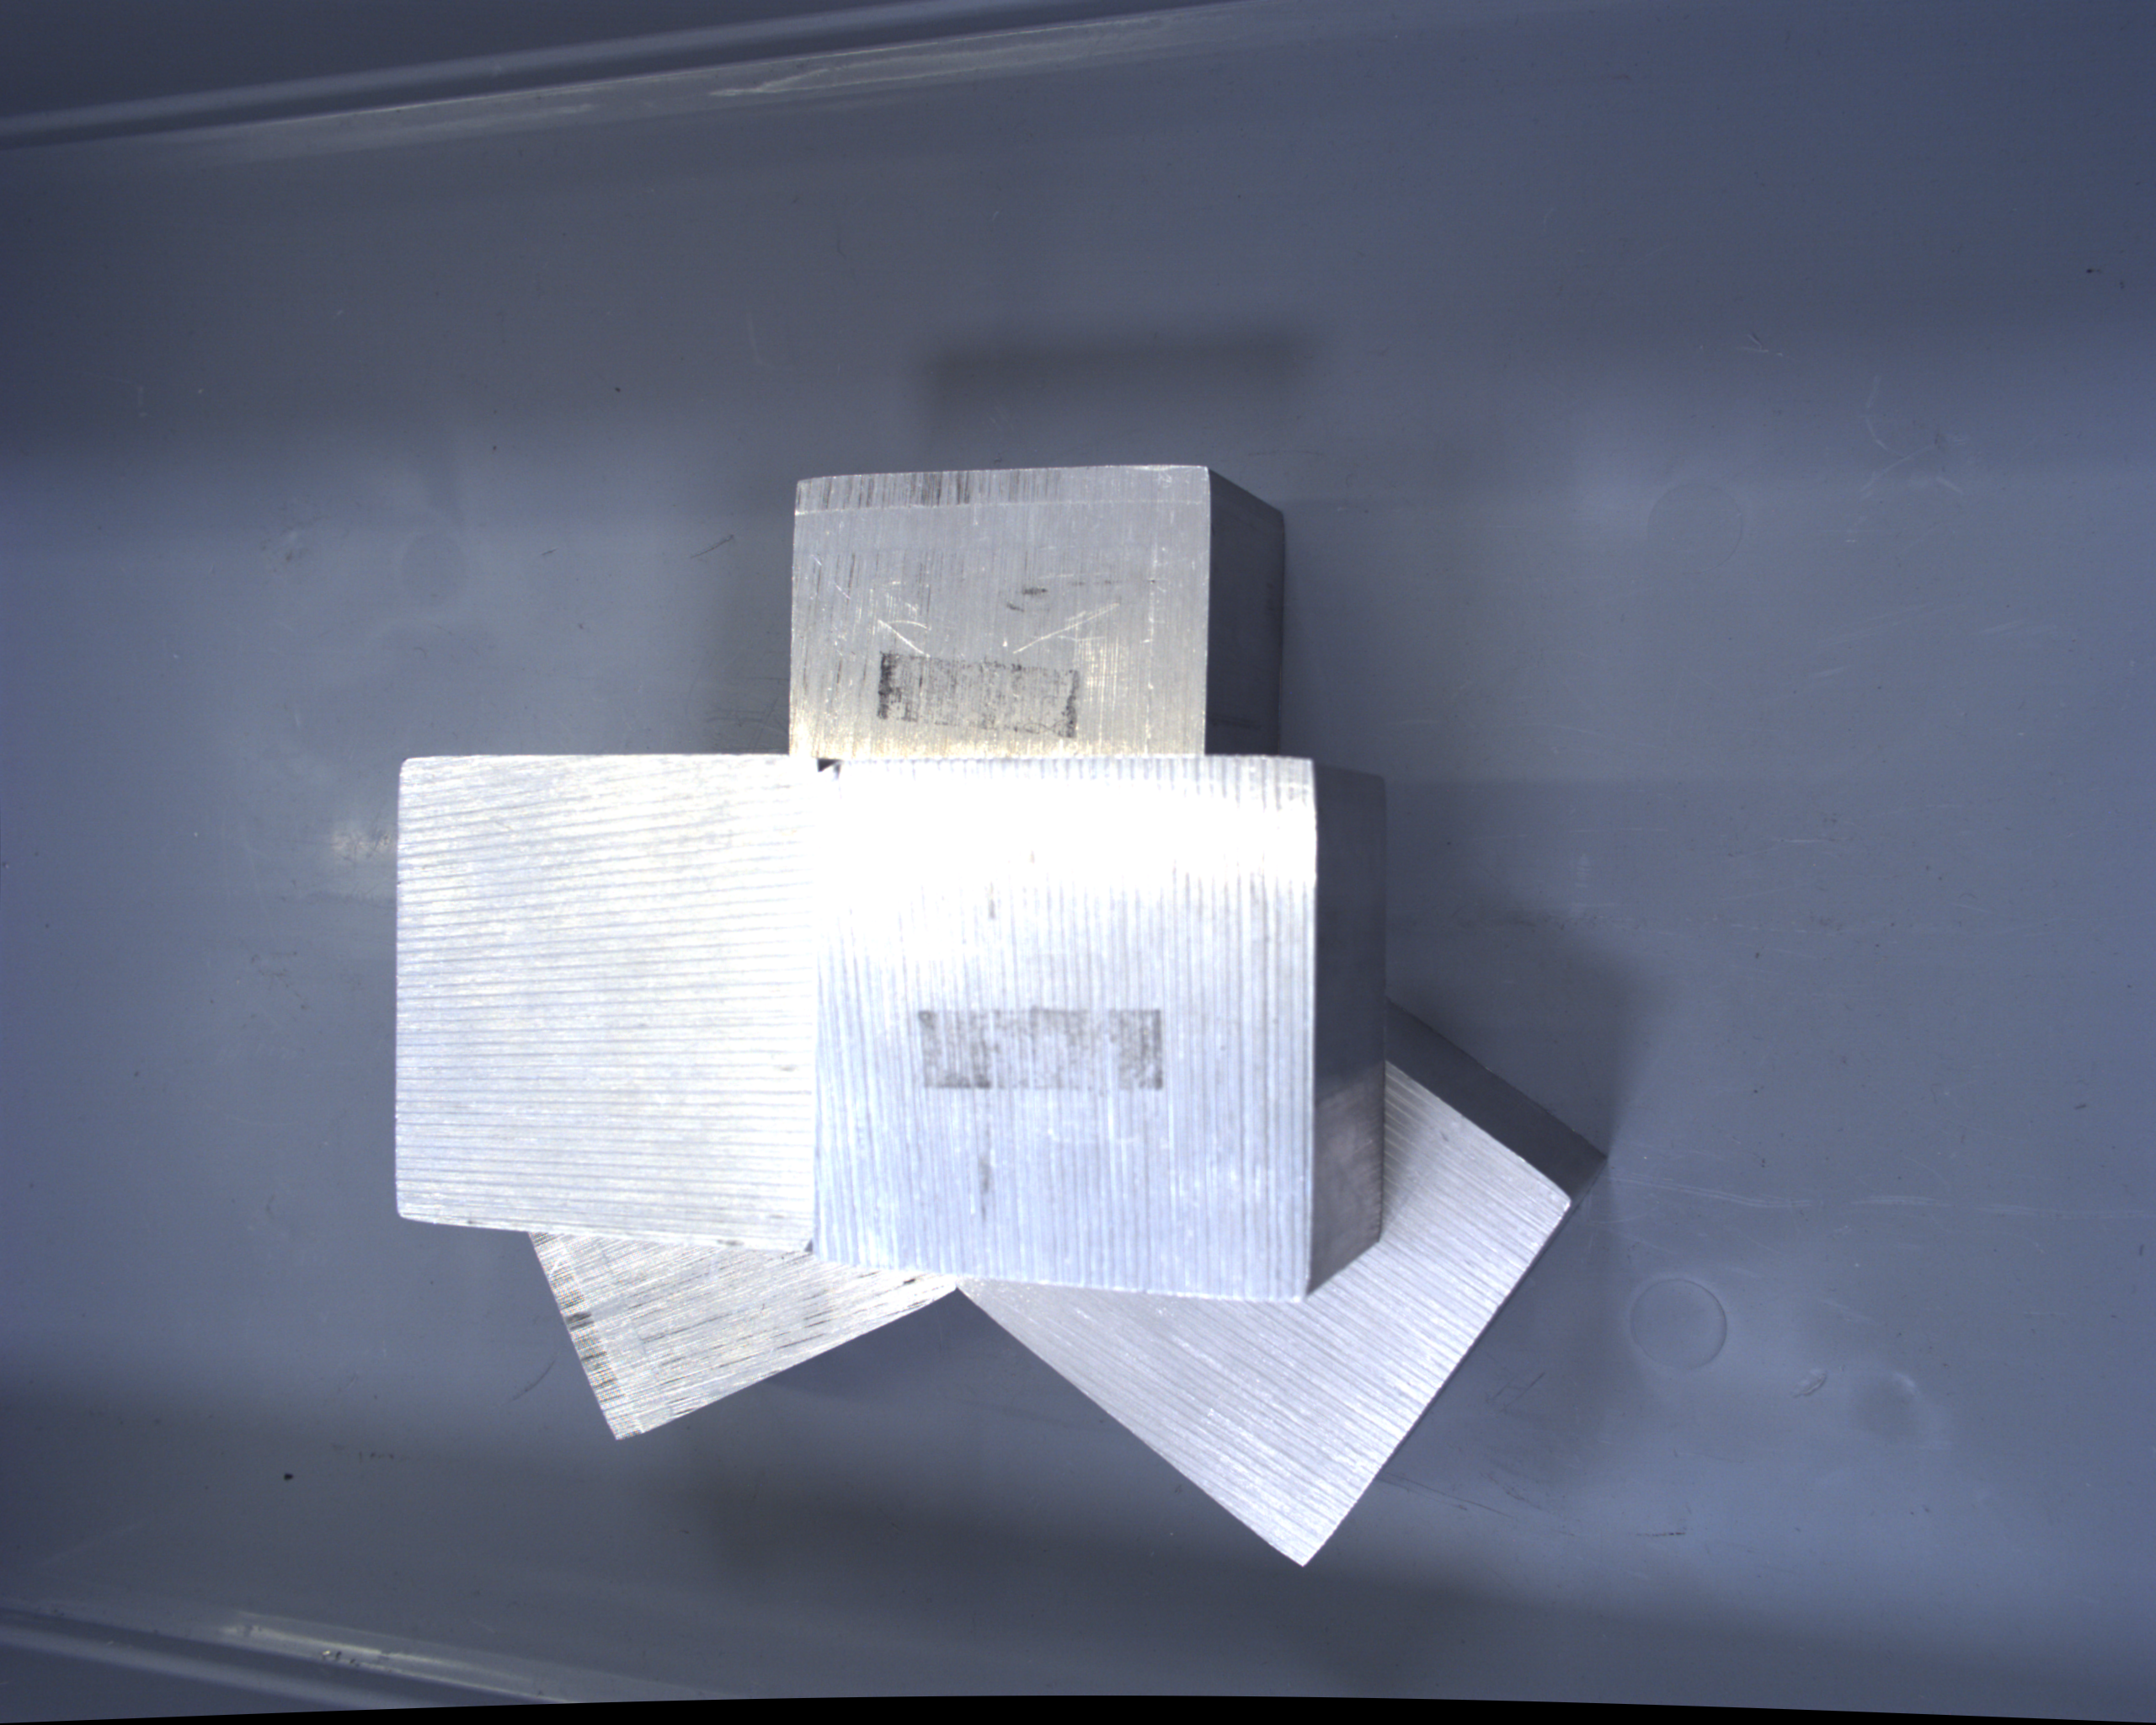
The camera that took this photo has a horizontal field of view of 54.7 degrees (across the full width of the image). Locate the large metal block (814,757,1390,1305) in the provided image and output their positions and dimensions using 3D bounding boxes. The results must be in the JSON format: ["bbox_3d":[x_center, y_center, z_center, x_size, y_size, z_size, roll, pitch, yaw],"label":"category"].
[{"bbox_3d":[0.005,0.024,0.339,0.080,0.050,0.080,1,90,20],"label":"large metal block"}]

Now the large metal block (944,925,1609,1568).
[{"bbox_3d":[0.037,0.064,0.381,0.080,0.050,0.080,36,101,17],"label":"large metal block"}]

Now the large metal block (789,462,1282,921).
[{"bbox_3d":[-0.007,-0.031,0.398,0.080,0.050,0.080,2,91,20],"label":"large metal block"}]

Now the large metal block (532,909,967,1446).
[{"bbox_3d":[-0.063,0.059,0.418,0.080,0.050,0.080,-27,81,18],"label":"large metal block"}]

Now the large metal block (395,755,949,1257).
[{"bbox_3d":[-0.070,0.022,0.367,0.080,0.050,0.080,1,90,20],"label":"large metal block"}]
